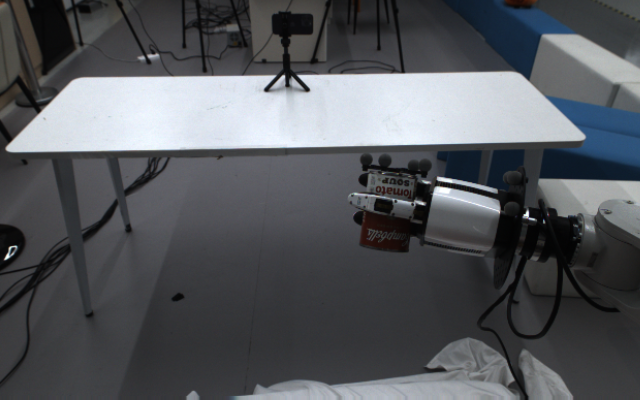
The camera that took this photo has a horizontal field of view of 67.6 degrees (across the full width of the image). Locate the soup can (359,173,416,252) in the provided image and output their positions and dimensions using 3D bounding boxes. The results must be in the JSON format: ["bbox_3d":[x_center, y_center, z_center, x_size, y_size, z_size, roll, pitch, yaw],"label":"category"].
[{"bbox_3d":[0.094,0.015,0.649,0.067,0.101,0.067,7,3,0],"label":"soup can"}]
